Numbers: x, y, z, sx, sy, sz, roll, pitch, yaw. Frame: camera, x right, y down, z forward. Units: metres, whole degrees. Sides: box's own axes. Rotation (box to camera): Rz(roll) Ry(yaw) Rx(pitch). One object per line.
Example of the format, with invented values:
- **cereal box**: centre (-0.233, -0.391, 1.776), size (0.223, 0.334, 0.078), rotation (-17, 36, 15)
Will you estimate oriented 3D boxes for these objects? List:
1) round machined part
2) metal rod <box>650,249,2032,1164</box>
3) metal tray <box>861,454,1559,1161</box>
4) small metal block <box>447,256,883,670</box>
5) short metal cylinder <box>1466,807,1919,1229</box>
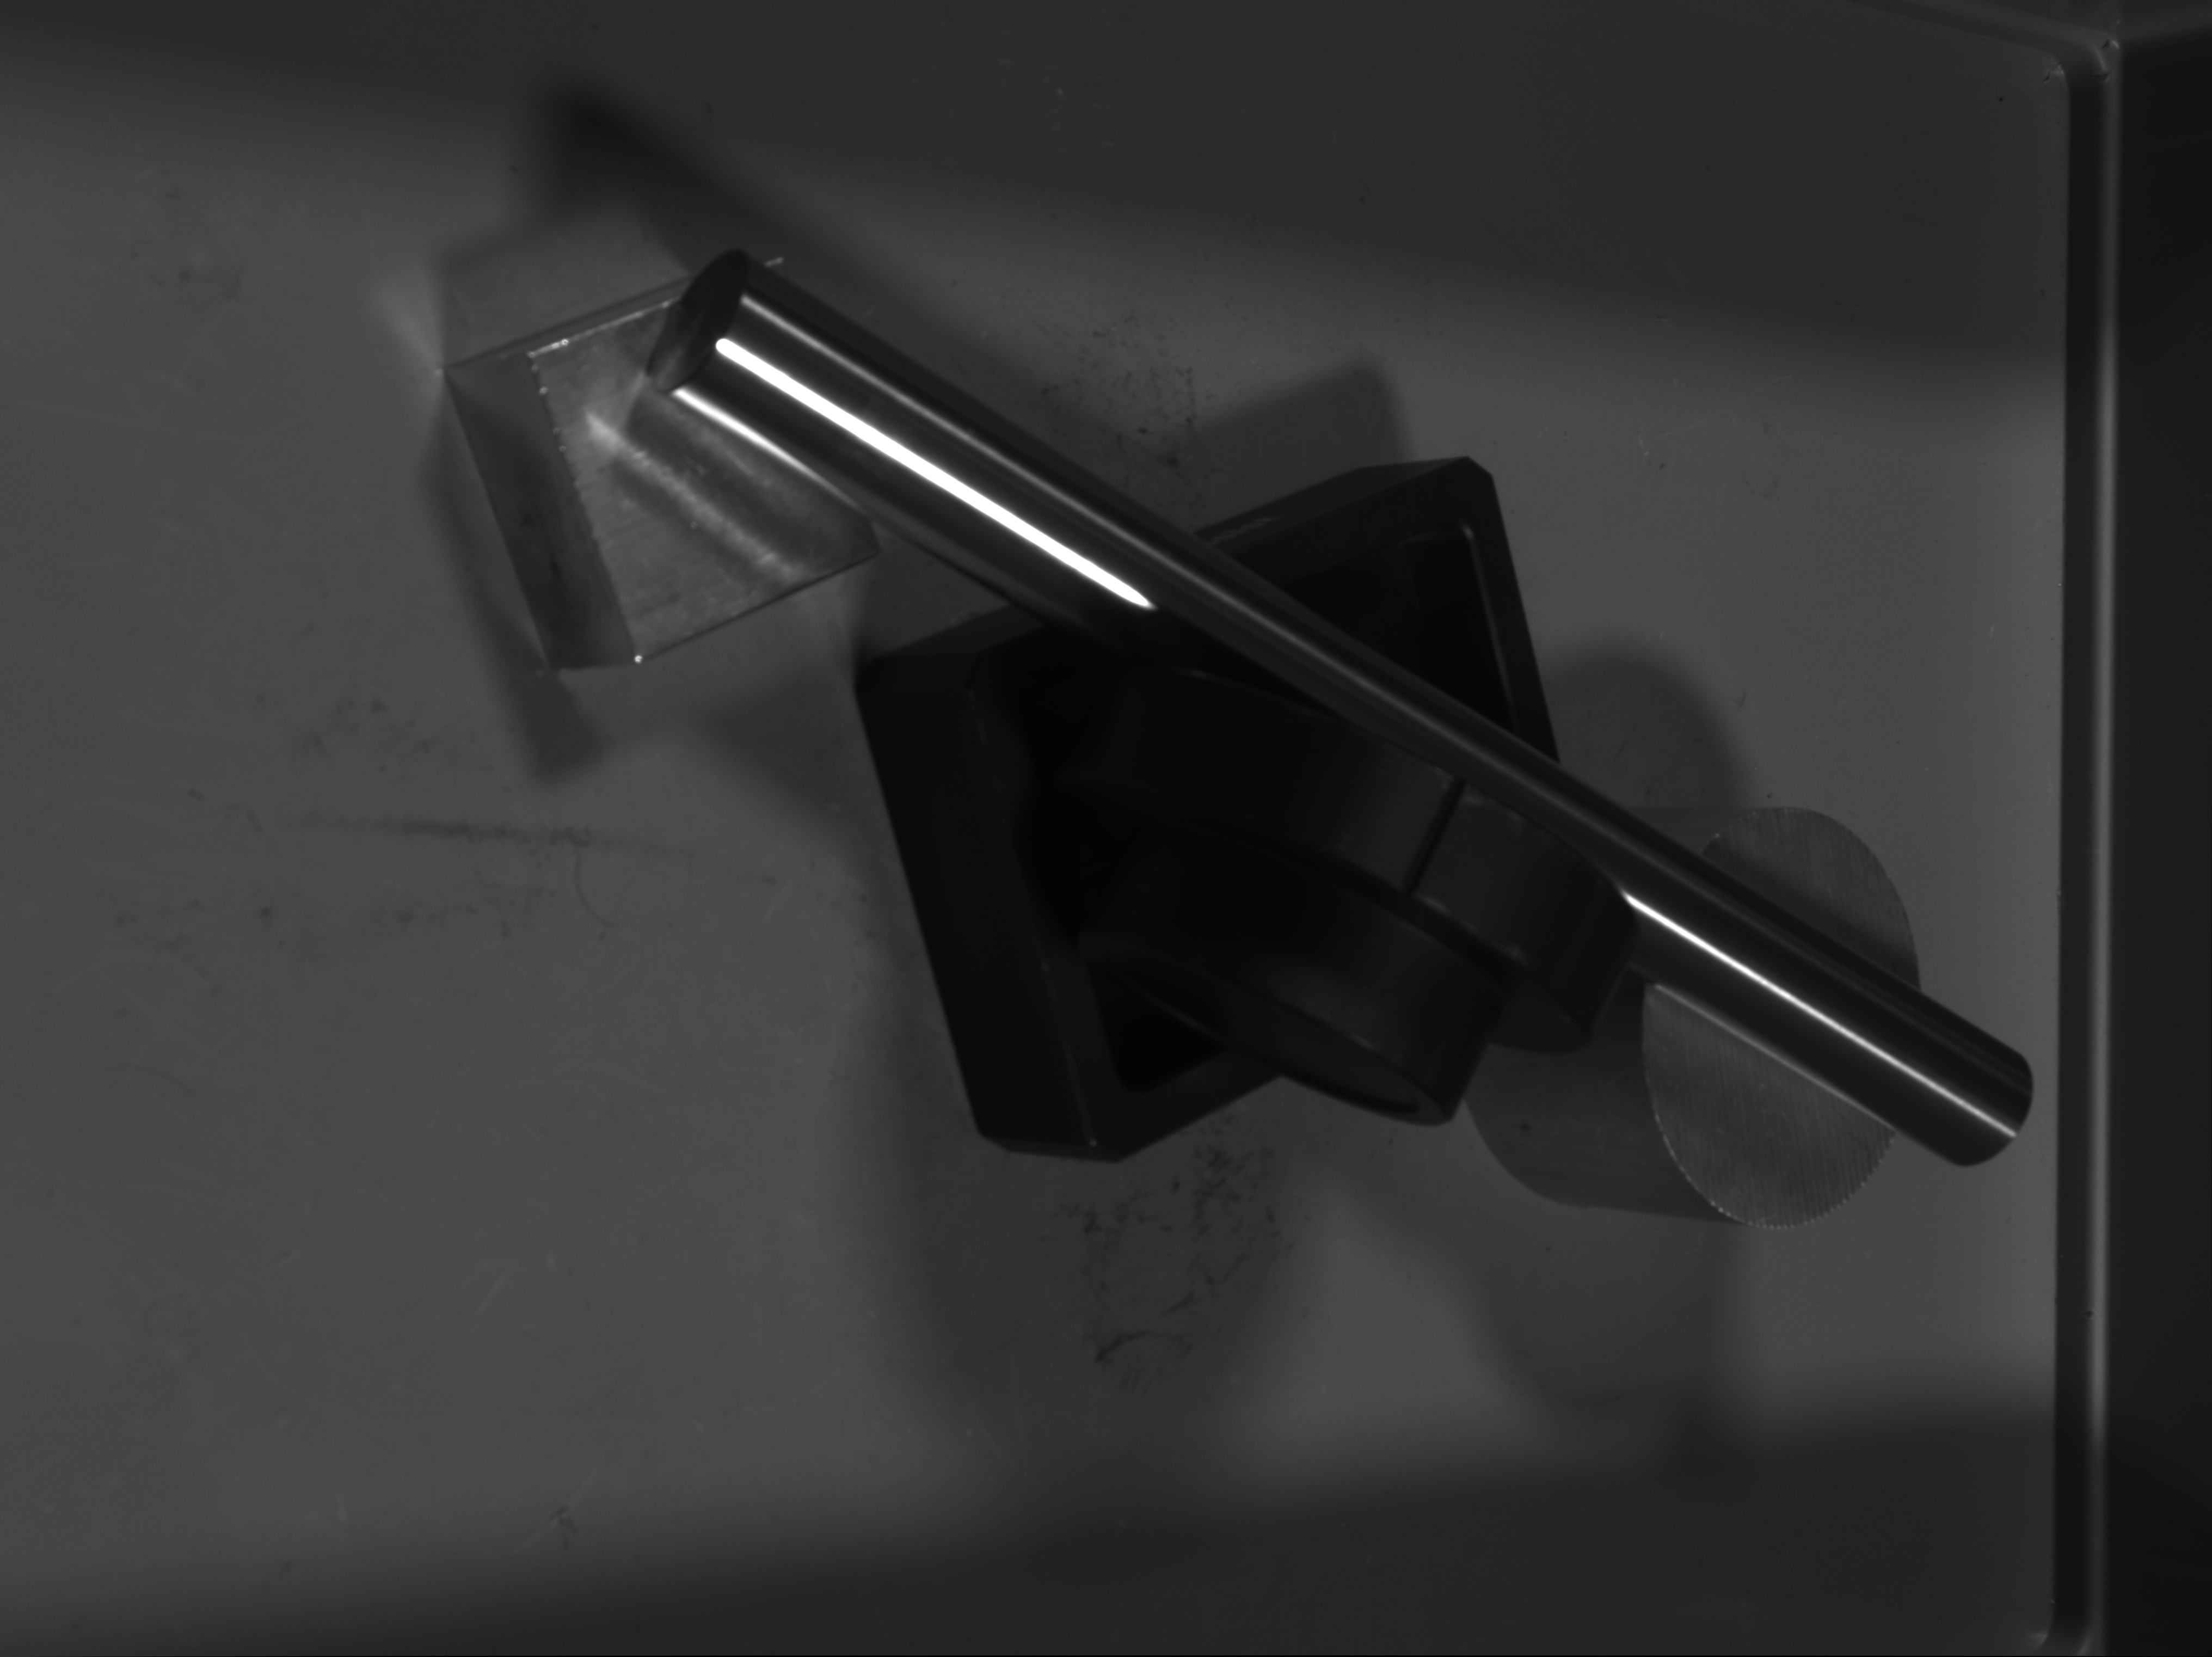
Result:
- **round machined part**: centre (0.034, 0.015, 0.600), size (0.098, 0.098, 0.042), rotation (34, 76, -34)
- **metal rod**: centre (0.053, -0.012, 0.627), size (0.301, 0.025, 0.025), rotation (29, 71, -29)
- **metal tray**: centre (0.025, -0.006, 0.653), size (0.130, 0.030, 0.090), rotation (-24, 105, -37)
- **small metal block**: centre (-0.069, -0.058, 0.578), size (0.050, 0.025, 0.050), rotation (-28, 107, -36)
- **short metal cylinder**: centre (0.114, 0.036, 0.714), size (0.080, 0.050, 0.080), rotation (0, 90, -40)
